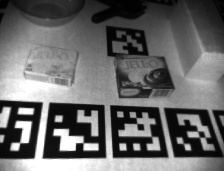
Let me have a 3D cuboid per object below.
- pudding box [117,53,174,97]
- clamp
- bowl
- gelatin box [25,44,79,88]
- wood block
[{"bbox_3d":[0.069,-0.021,0.459,0.114,0.038,0.089,1,63,-11],"label":"pudding box"},{"bbox_3d":[0.006,-0.211,0.571,0.166,0.036,0.121,-6,60,-19],"label":"clamp"},{"bbox_3d":[-0.148,-0.189,0.505,0.162,0.055,0.161,7,60,-11],"label":"bowl"},{"bbox_3d":[-0.115,-0.039,0.427,0.090,0.030,0.073,10,59,-8],"label":"gelatin box"},{"bbox_3d":[0.223,-0.126,0.531,0.090,0.091,0.205,6,58,-11],"label":"wood block"}]
